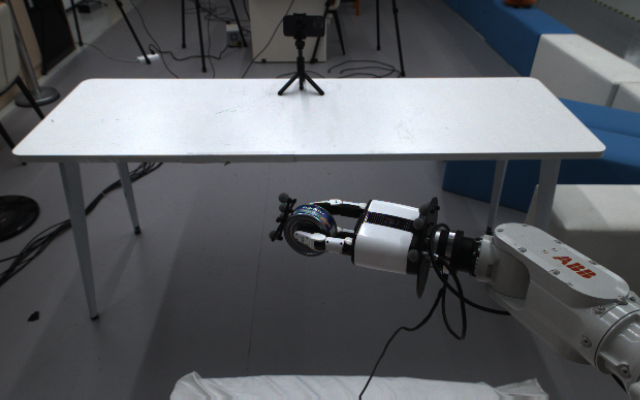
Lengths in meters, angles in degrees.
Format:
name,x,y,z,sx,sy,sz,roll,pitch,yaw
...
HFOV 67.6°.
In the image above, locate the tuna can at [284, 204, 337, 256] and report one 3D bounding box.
name,x,y,z,sx,sy,sz,roll,pitch,yaw
tuna can,-0.015,0.055,0.803,0.085,0.085,0.034,12,30,14
